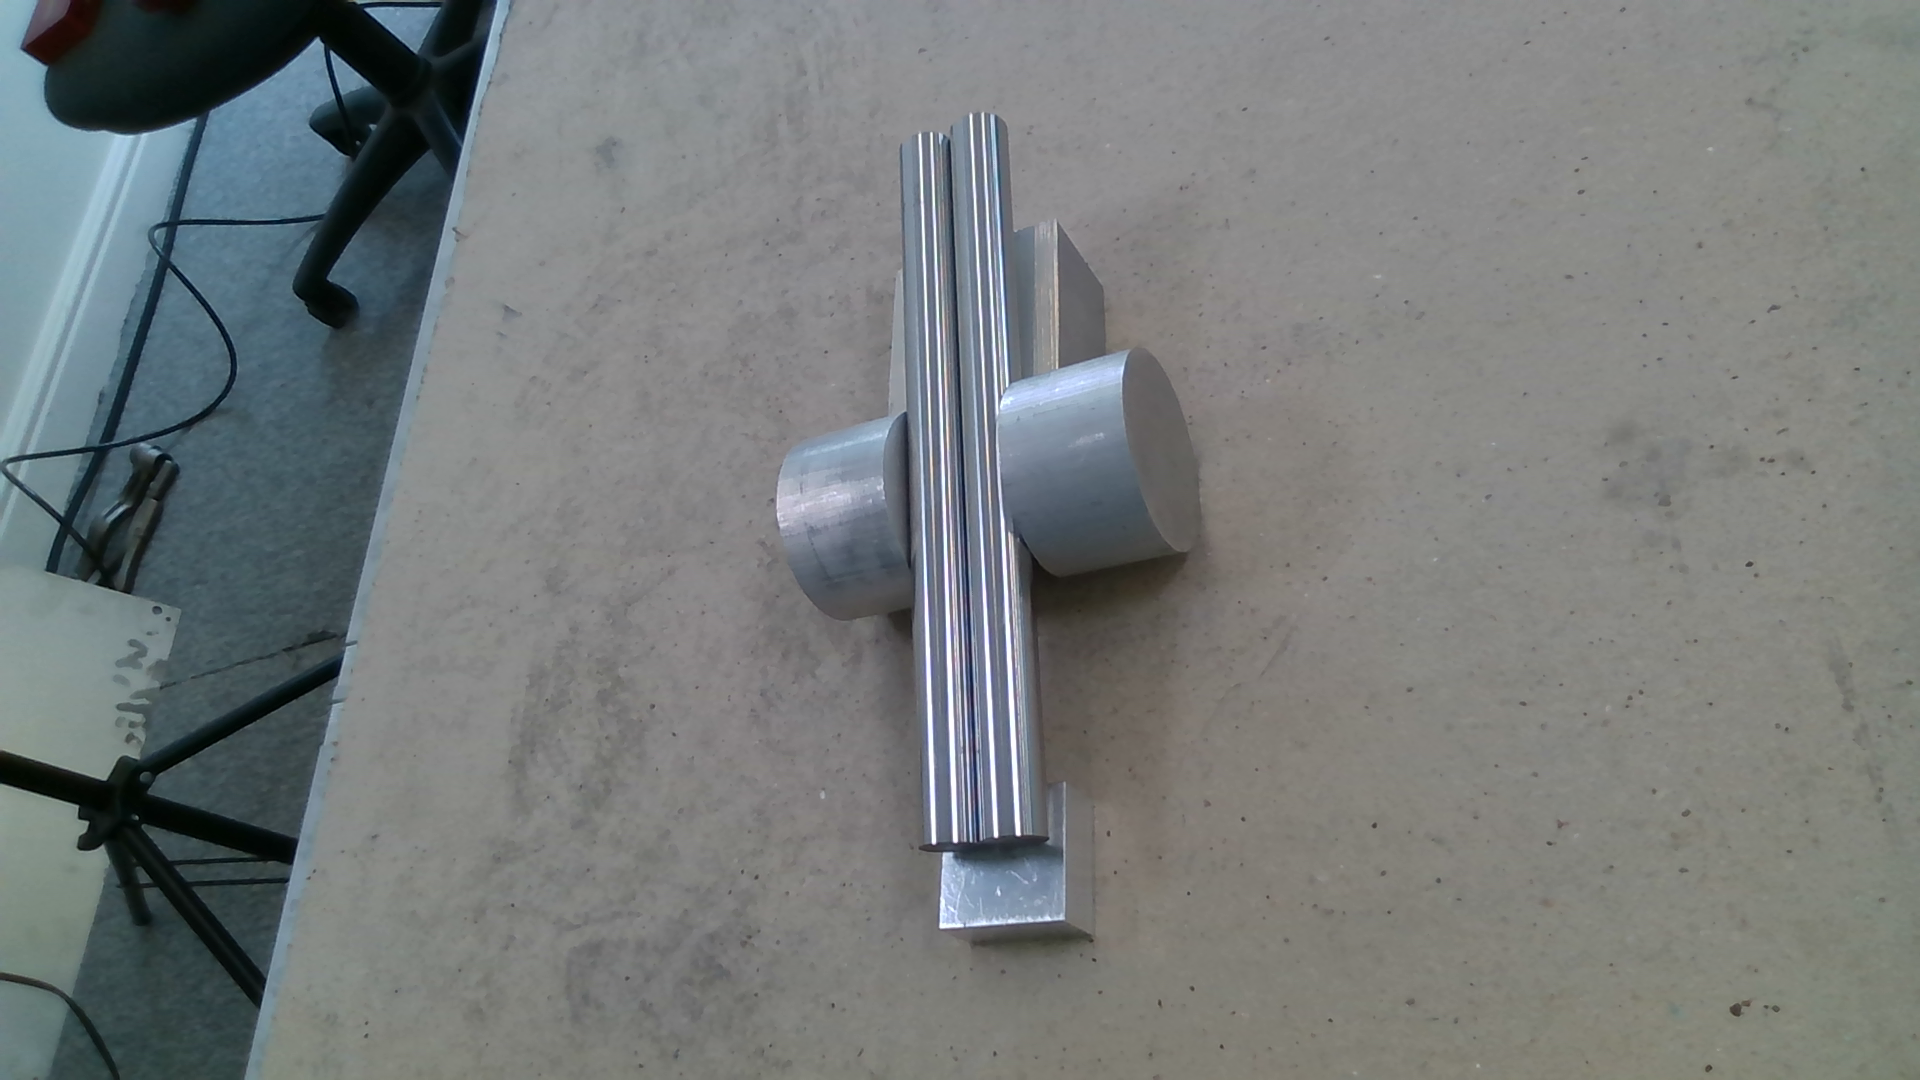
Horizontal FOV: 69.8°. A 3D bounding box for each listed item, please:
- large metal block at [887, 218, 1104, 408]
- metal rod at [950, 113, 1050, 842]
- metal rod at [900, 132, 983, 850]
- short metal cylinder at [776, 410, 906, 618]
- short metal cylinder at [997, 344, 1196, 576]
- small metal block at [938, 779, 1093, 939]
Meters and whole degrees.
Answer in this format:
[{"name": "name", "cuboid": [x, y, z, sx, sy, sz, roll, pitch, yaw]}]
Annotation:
[{"name": "large metal block", "cuboid": [0.017, -0.083, 0.604, 0.080, 0.050, 0.080, -13, 60, 26]}, {"name": "metal rod", "cuboid": [0.014, -0.035, 0.538, 0.025, 0.025, 0.299, -13, 67, 26]}, {"name": "metal rod", "cuboid": [-0.008, -0.030, 0.549, 0.025, 0.025, 0.299, -13, 67, 26]}, {"name": "short metal cylinder", "cuboid": [-0.033, -0.011, 0.577, 0.050, 0.080, 0.080, -13, 59, 26]}, {"name": "short metal cylinder", "cuboid": [0.055, -0.030, 0.533, 0.050, 0.080, 0.080, -13, 59, 26]}, {"name": "small metal block", "cuboid": [0.021, 0.119, 0.510, 0.050, 0.025, 0.050, -12, 60, 26]}]
